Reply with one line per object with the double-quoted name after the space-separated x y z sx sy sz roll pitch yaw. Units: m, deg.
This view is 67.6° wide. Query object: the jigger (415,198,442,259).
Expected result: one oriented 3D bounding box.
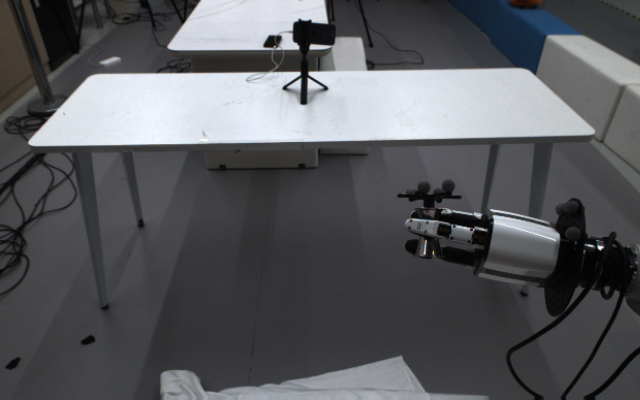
0.151 0.044 0.683 0.043 0.071 0.043 3 -6 0 "jigger"
